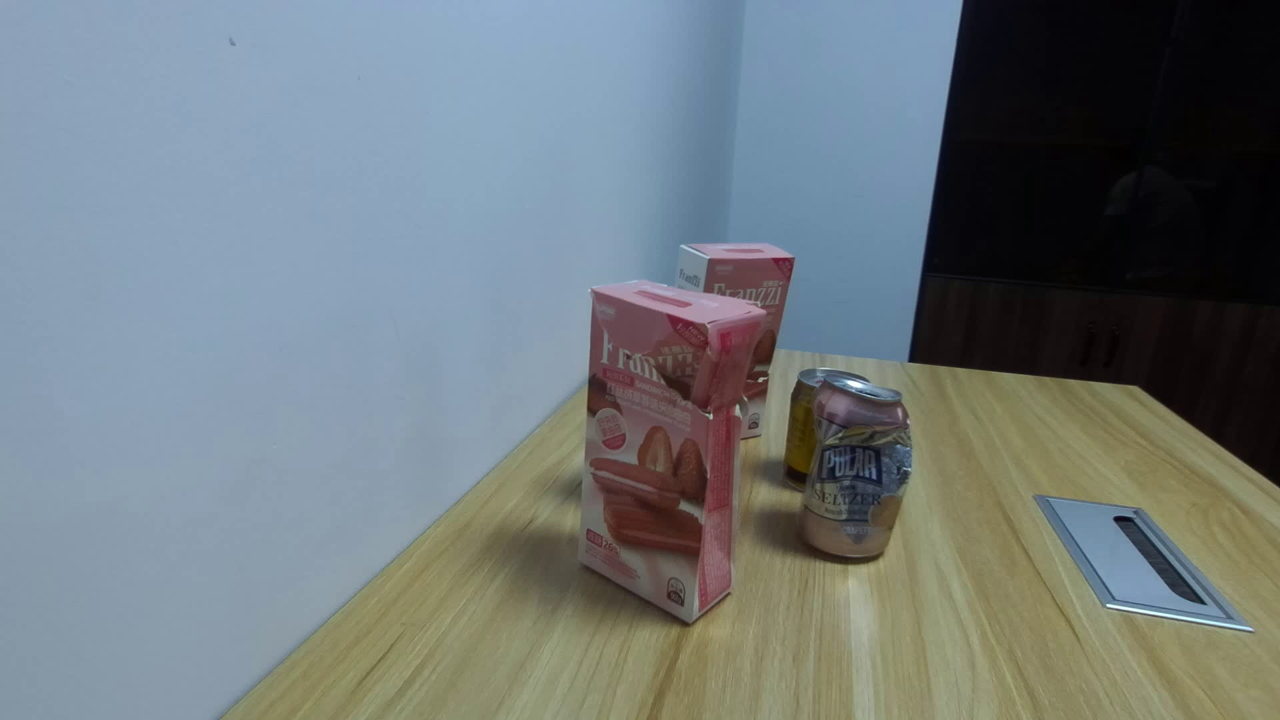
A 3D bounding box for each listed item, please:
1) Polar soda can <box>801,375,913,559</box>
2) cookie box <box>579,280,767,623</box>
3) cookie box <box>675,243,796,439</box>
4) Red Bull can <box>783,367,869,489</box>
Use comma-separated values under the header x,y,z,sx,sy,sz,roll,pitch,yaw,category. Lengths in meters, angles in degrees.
x,y,z,sx,sy,sz,roll,pitch,yaw,category
0.151,0.074,0.496,0.071,0.121,0.066,5,12,1,Polar soda can
0.015,0.051,0.425,0.104,0.186,0.060,19,24,41,cookie box
0.080,-0.012,0.656,0.105,0.187,0.048,-5,26,-28,cookie box
0.157,0.059,0.586,0.069,0.092,0.069,1,17,0,Red Bull can
